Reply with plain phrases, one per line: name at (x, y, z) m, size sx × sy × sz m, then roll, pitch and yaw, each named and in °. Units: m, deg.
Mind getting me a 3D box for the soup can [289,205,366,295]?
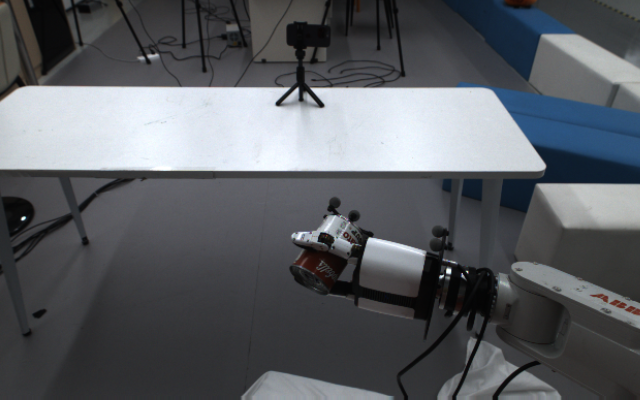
soup can at (0.012, 0.078, 0.706) m, size 0.067 × 0.067 × 0.101 m, roll 22°, pitch 60°, yaw 26°
